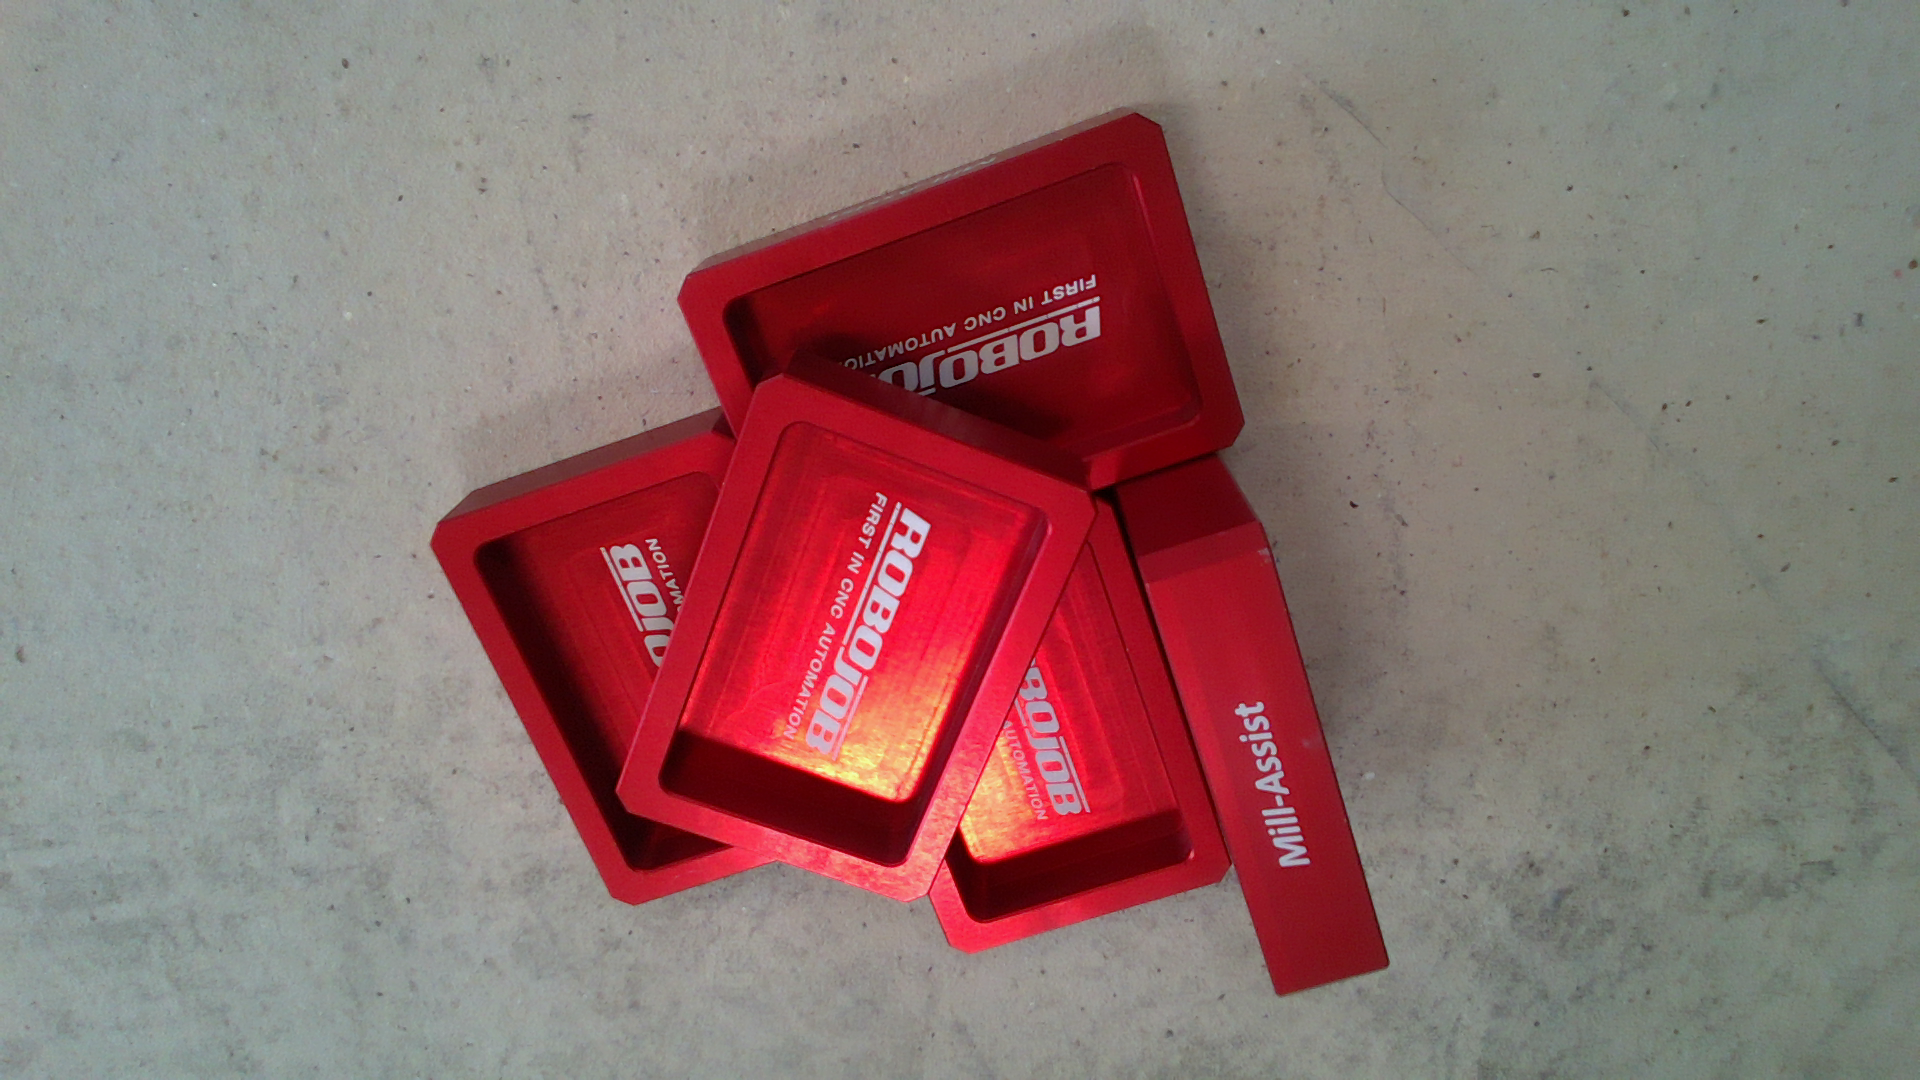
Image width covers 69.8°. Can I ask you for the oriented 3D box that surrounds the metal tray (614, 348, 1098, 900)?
[{"bbox_3d":[-0.029,0.025,0.370,0.090,0.030,0.130,20,109,-7],"label":"metal tray"}]

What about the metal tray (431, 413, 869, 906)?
[{"bbox_3d":[-0.082,0.036,0.403,0.090,0.030,0.130,-18,109,7],"label":"metal tray"}]

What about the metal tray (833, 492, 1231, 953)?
[{"bbox_3d":[0.019,0.053,0.409,0.090,0.030,0.130,-18,110,7],"label":"metal tray"}]

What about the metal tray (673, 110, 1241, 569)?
[{"bbox_3d":[0.001,-0.052,0.373,0.130,0.030,0.090,-17,109,7],"label":"metal tray"}]

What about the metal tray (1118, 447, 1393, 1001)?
[{"bbox_3d":[0.077,0.045,0.374,0.030,0.090,0.130,-17,110,6],"label":"metal tray"}]
